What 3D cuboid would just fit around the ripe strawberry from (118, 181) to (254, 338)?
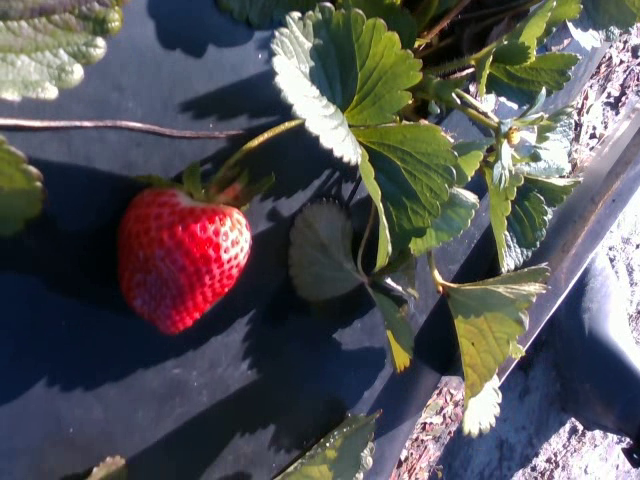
[{"bbox_3d":[-0.042,0.005,0.191,0.044,0.056,0.041,15,-4,7],"label":"ripe strawberry"}]
